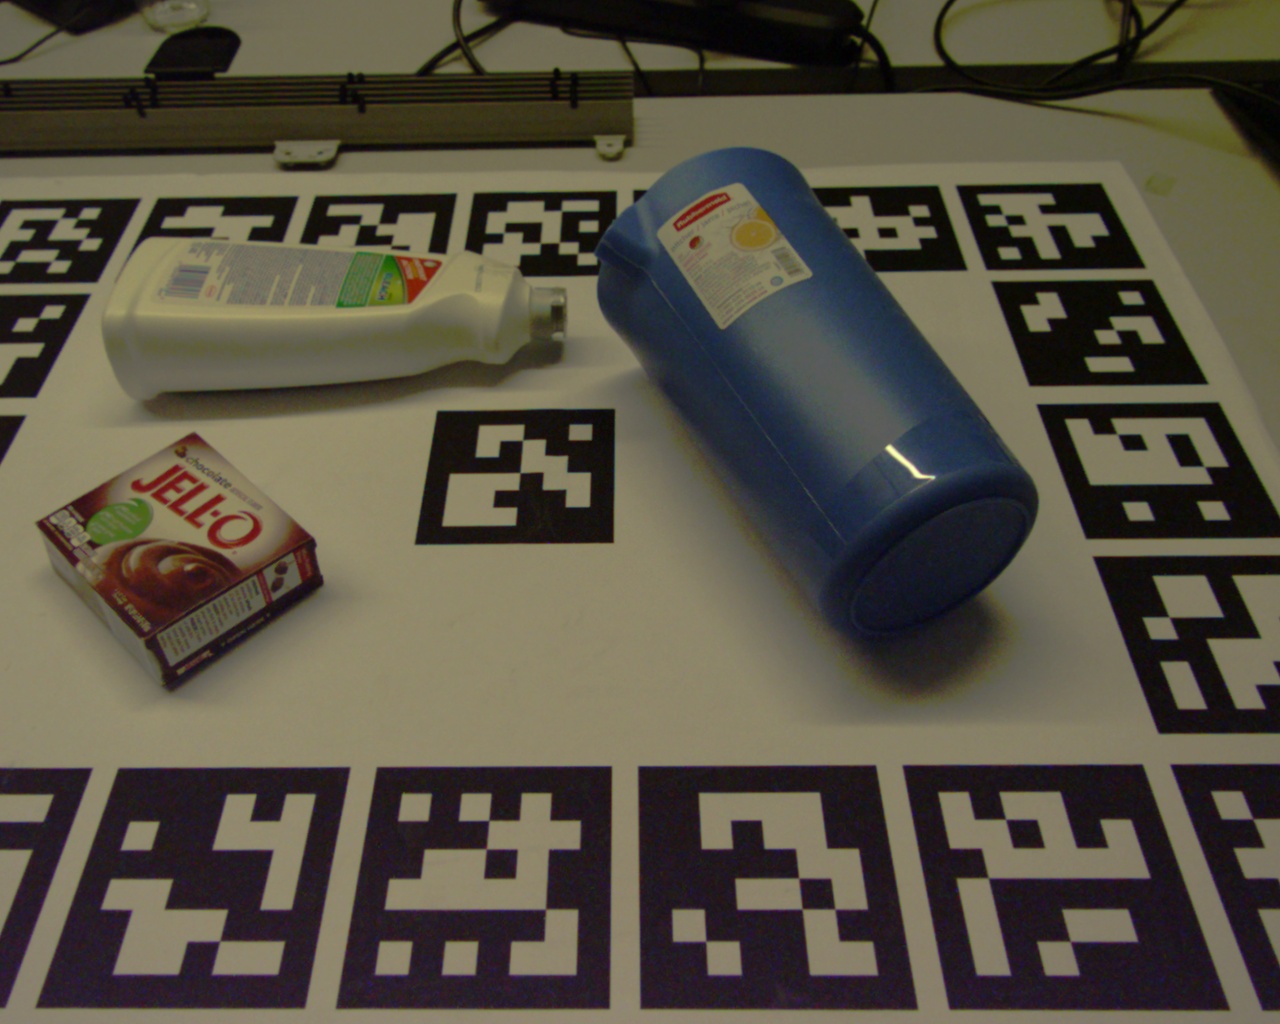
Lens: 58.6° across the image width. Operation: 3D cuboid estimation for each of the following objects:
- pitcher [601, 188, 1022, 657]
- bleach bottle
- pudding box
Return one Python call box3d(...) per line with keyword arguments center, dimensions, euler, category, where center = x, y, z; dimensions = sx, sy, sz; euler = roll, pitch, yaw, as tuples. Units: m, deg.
box3d(center=(0.093, -0.047, 0.607), dimensions=(0.186, 0.134, 0.245), euler=(6, 43, -42), category="pitcher")
box3d(center=(-0.169, -0.113, 0.693), dimensions=(0.250, 0.067, 0.103), euler=(-2, 52, -3), category="bleach bottle")
box3d(center=(-0.226, 0.022, 0.582), dimensions=(0.115, 0.038, 0.089), euler=(37, 53, 27), category="pudding box")
